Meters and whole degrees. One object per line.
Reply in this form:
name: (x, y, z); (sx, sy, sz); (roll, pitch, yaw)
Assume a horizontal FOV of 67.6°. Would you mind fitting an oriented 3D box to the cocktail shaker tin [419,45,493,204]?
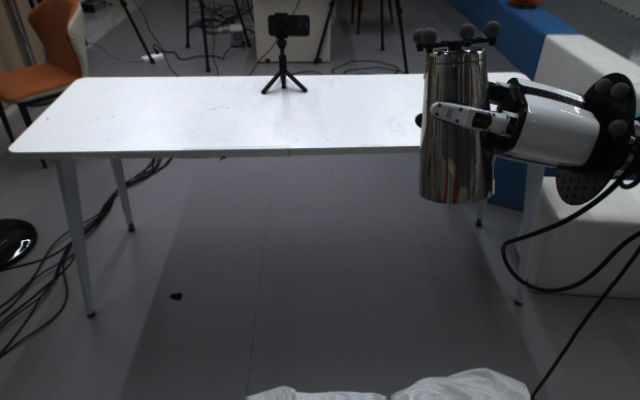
cocktail shaker tin: (0.164, -0.091, 0.580); (0.093, 0.170, 0.093); (-6, 20, 2)
